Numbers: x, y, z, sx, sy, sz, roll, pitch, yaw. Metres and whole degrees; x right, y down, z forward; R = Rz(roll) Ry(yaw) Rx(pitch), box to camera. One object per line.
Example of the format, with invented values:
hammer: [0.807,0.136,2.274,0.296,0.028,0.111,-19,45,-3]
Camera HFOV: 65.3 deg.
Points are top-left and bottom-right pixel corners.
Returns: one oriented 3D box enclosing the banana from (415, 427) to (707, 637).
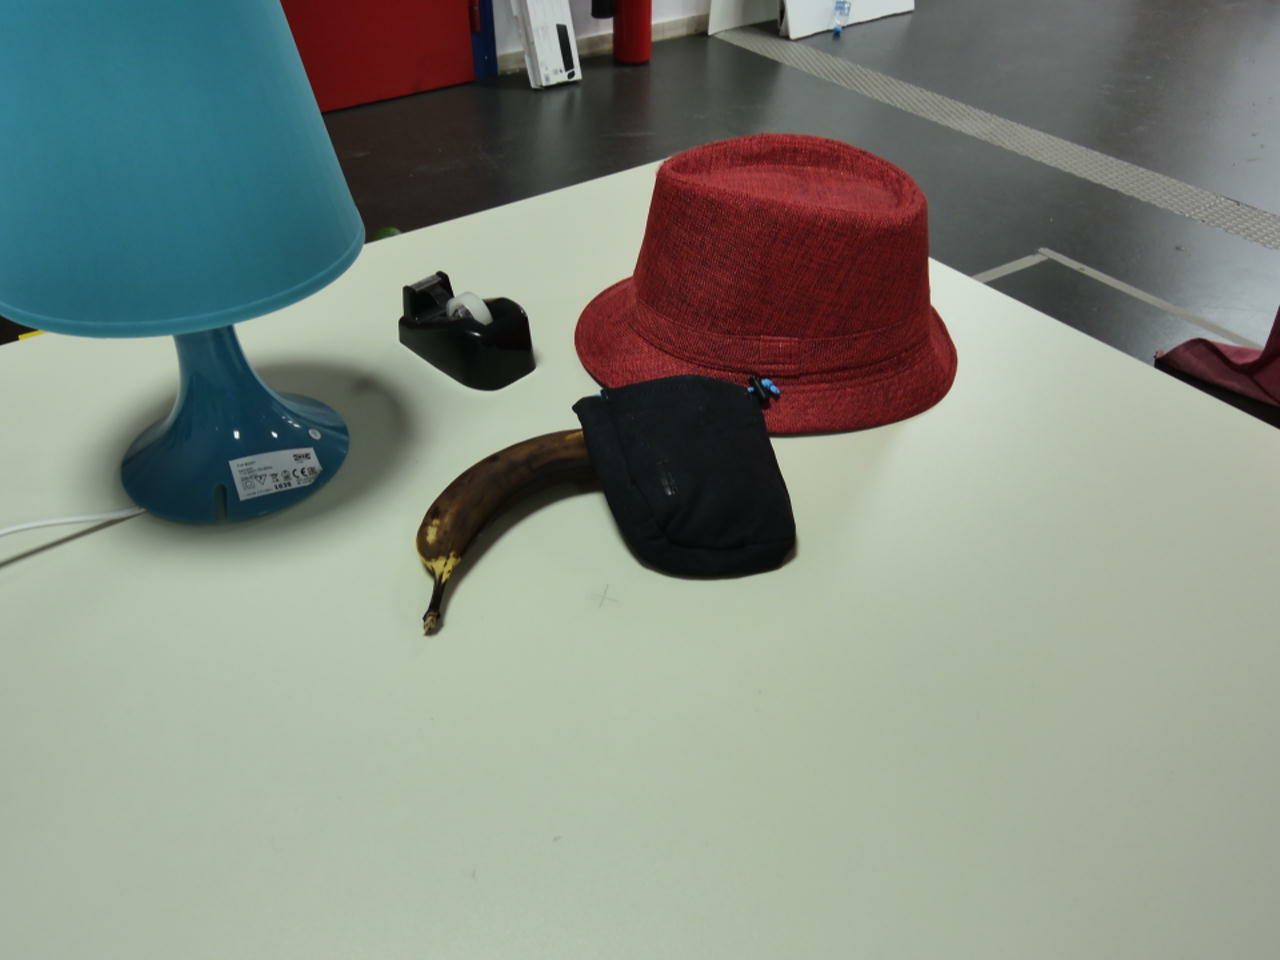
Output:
banana: [-0.058,0.010,0.568,0.188,0.034,0.091,-24,44,-28]
